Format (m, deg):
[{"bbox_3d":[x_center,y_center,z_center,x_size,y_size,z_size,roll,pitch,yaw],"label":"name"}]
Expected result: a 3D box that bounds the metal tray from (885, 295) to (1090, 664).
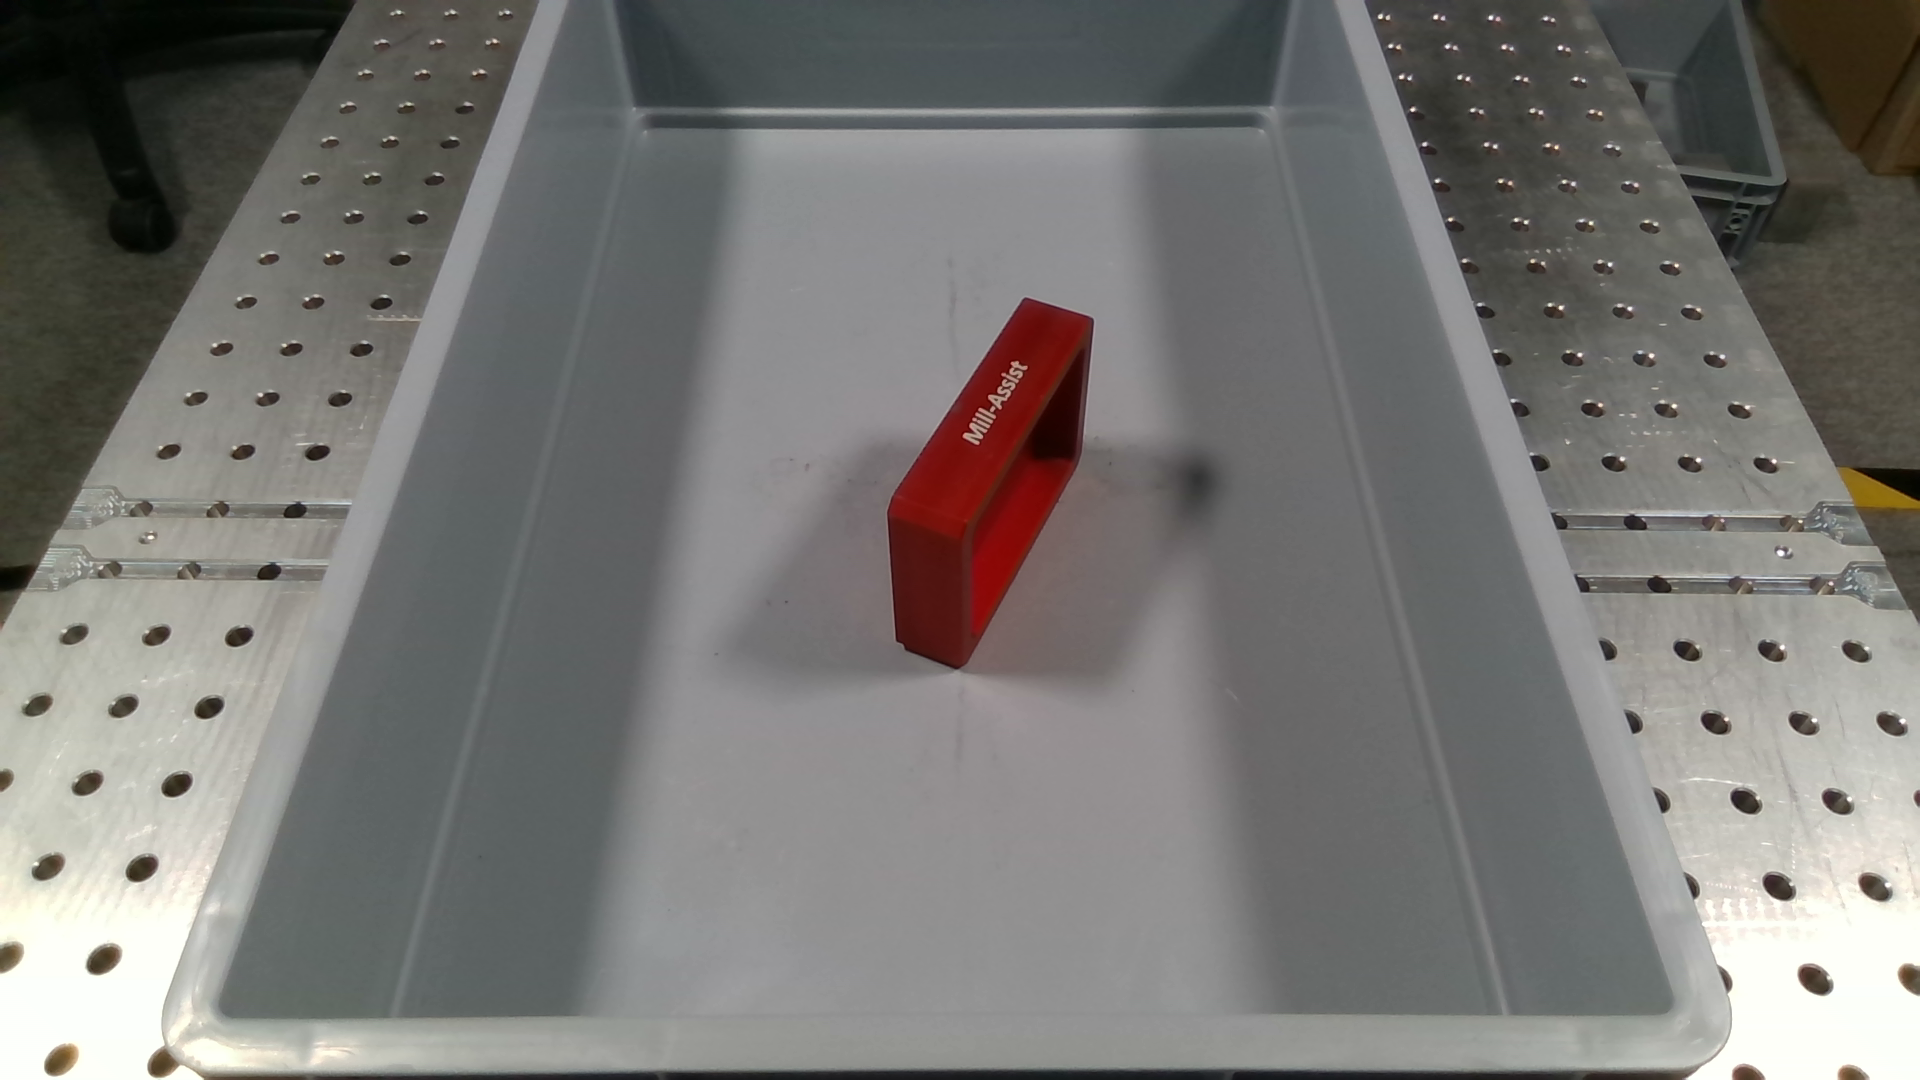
[{"bbox_3d":[0.014,-0.026,0.562,0.030,0.090,0.130,20,53,16],"label":"metal tray"}]
